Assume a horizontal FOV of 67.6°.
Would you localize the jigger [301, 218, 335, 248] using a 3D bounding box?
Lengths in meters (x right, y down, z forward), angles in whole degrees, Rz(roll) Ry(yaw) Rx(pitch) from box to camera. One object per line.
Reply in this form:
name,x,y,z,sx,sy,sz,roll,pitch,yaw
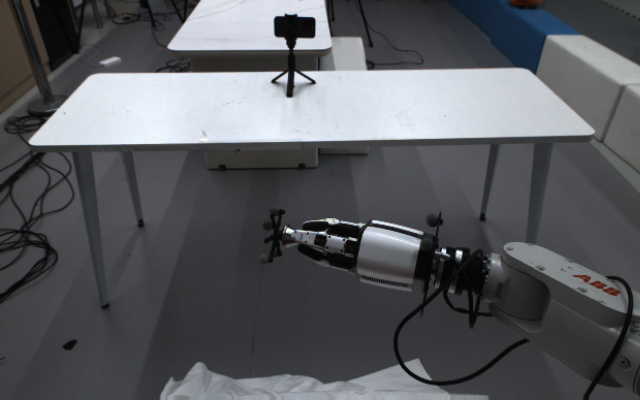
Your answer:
jigger,-0.014,0.058,0.753,0.071,0.043,0.043,5,34,14
